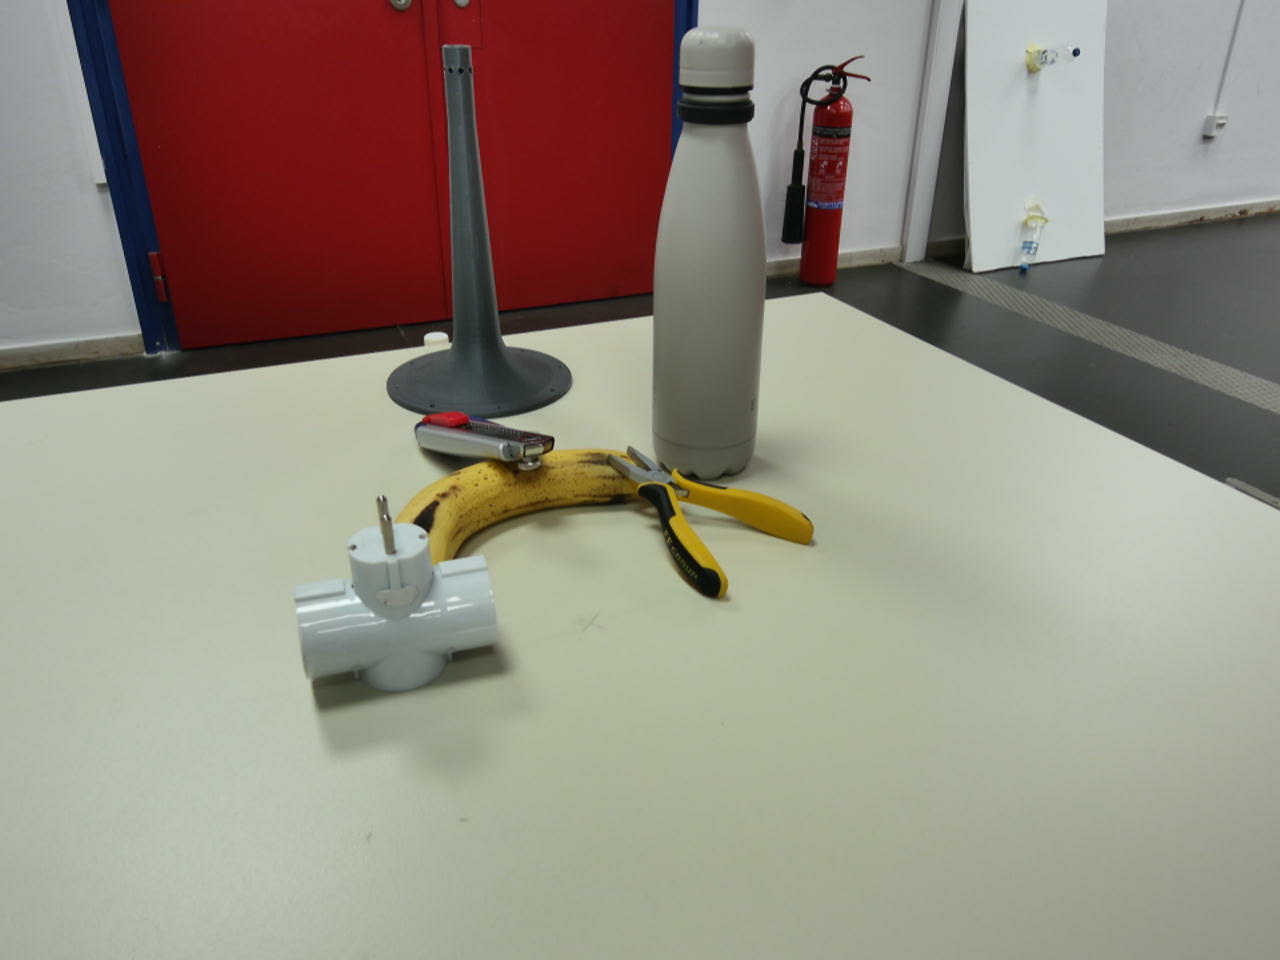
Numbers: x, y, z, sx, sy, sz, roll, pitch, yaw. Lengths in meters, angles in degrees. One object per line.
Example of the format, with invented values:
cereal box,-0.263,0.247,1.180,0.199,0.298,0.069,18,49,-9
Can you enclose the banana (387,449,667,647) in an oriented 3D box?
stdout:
banana,-0.074,0.019,0.587,0.097,0.038,0.186,19,32,33
